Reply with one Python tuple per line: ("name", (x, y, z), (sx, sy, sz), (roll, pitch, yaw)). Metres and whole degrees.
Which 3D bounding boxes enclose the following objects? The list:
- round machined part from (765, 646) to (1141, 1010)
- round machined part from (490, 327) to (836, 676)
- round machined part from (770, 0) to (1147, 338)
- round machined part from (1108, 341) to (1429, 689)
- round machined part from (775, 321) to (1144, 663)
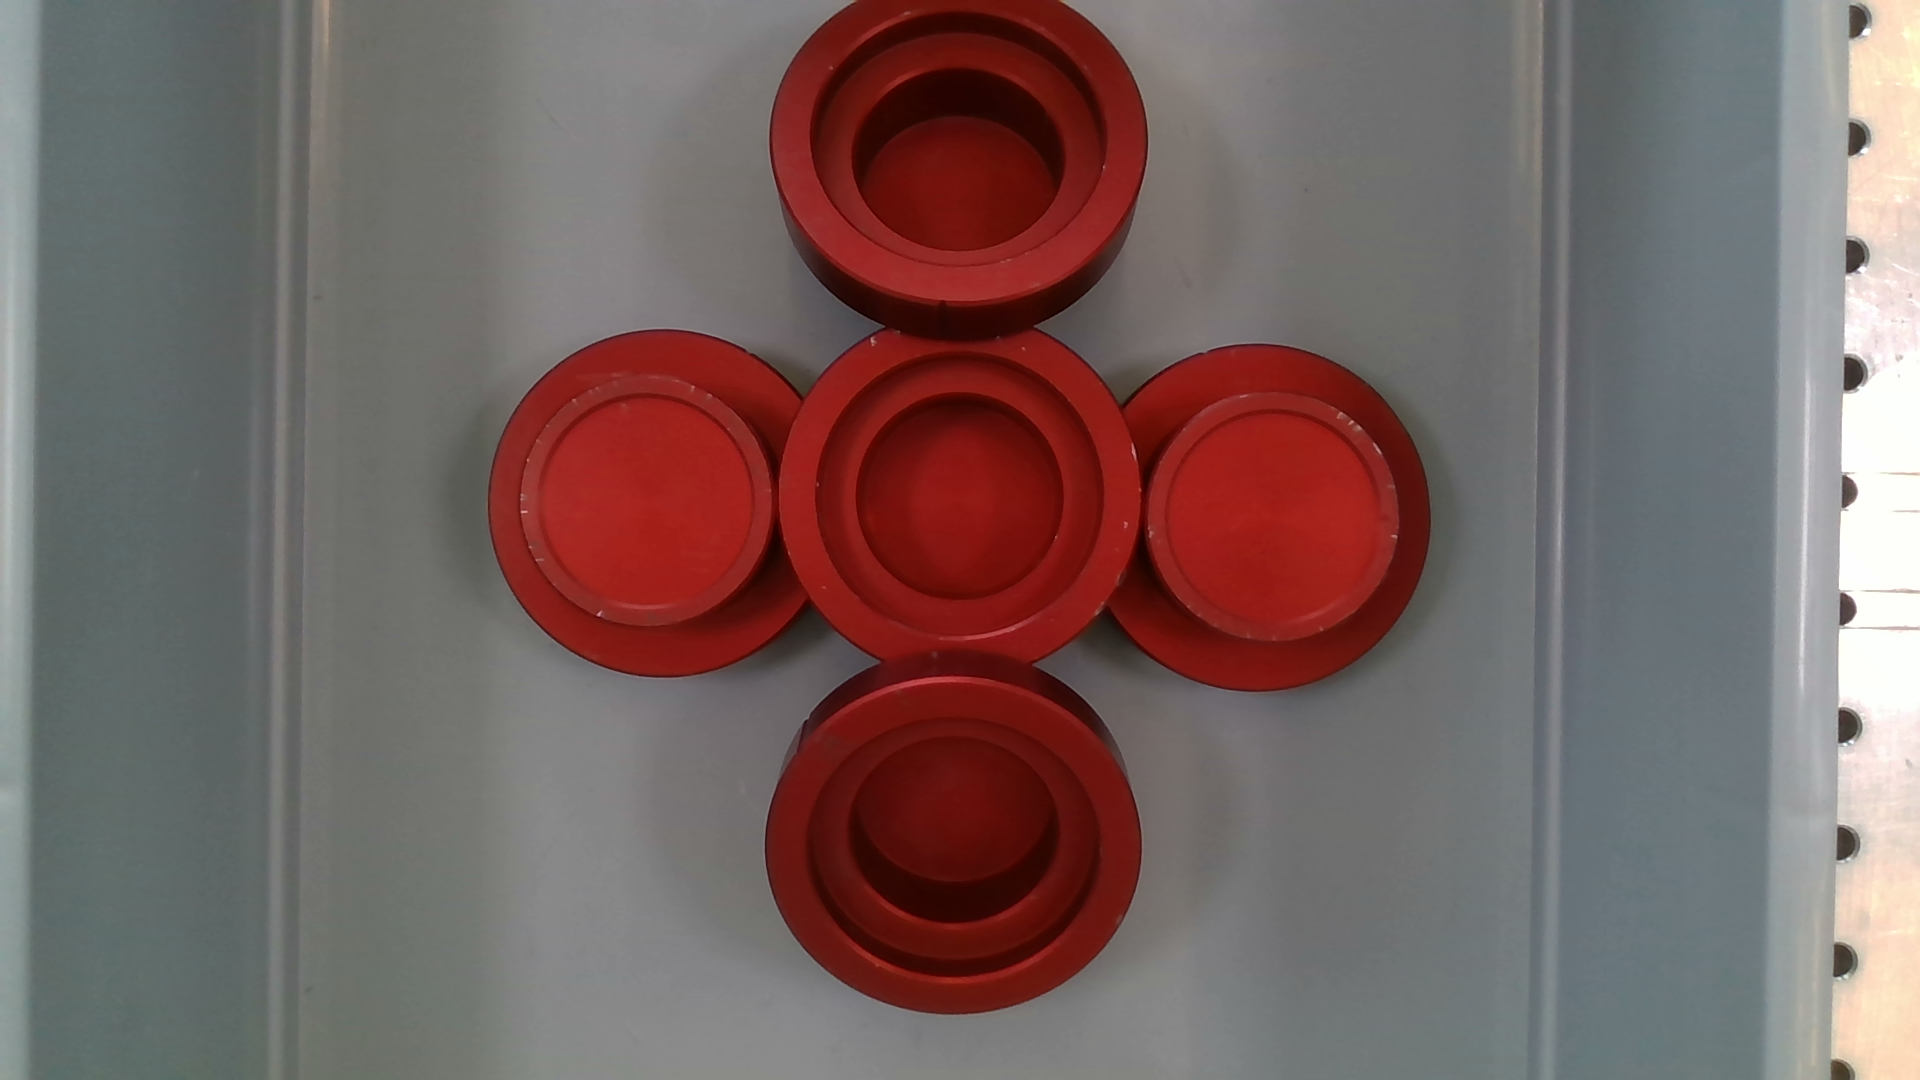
("round machined part", (-0.002, 0.075, 0.378), (0.098, 0.042, 0.098), (0, 107, 0))
("round machined part", (-0.083, -0.011, 0.386), (0.098, 0.042, 0.098), (0, 90, 0))
("round machined part", (0.000, -0.099, 0.377), (0.098, 0.042, 0.098), (0, 73, 0))
("round machined part", (0.083, -0.007, 0.386), (0.098, 0.042, 0.098), (0, 90, 0))
("round machined part", (0.000, -0.012, 0.385), (0.098, 0.042, 0.098), (0, 90, 0))
